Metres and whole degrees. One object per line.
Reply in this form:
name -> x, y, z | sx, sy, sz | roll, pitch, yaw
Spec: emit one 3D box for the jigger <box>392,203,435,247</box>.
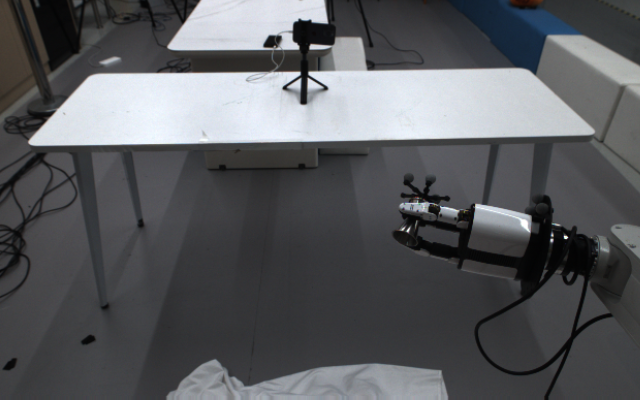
jigger -> 0.146, 0.030, 0.767 | 0.043, 0.043, 0.071 | 19, 61, 23
